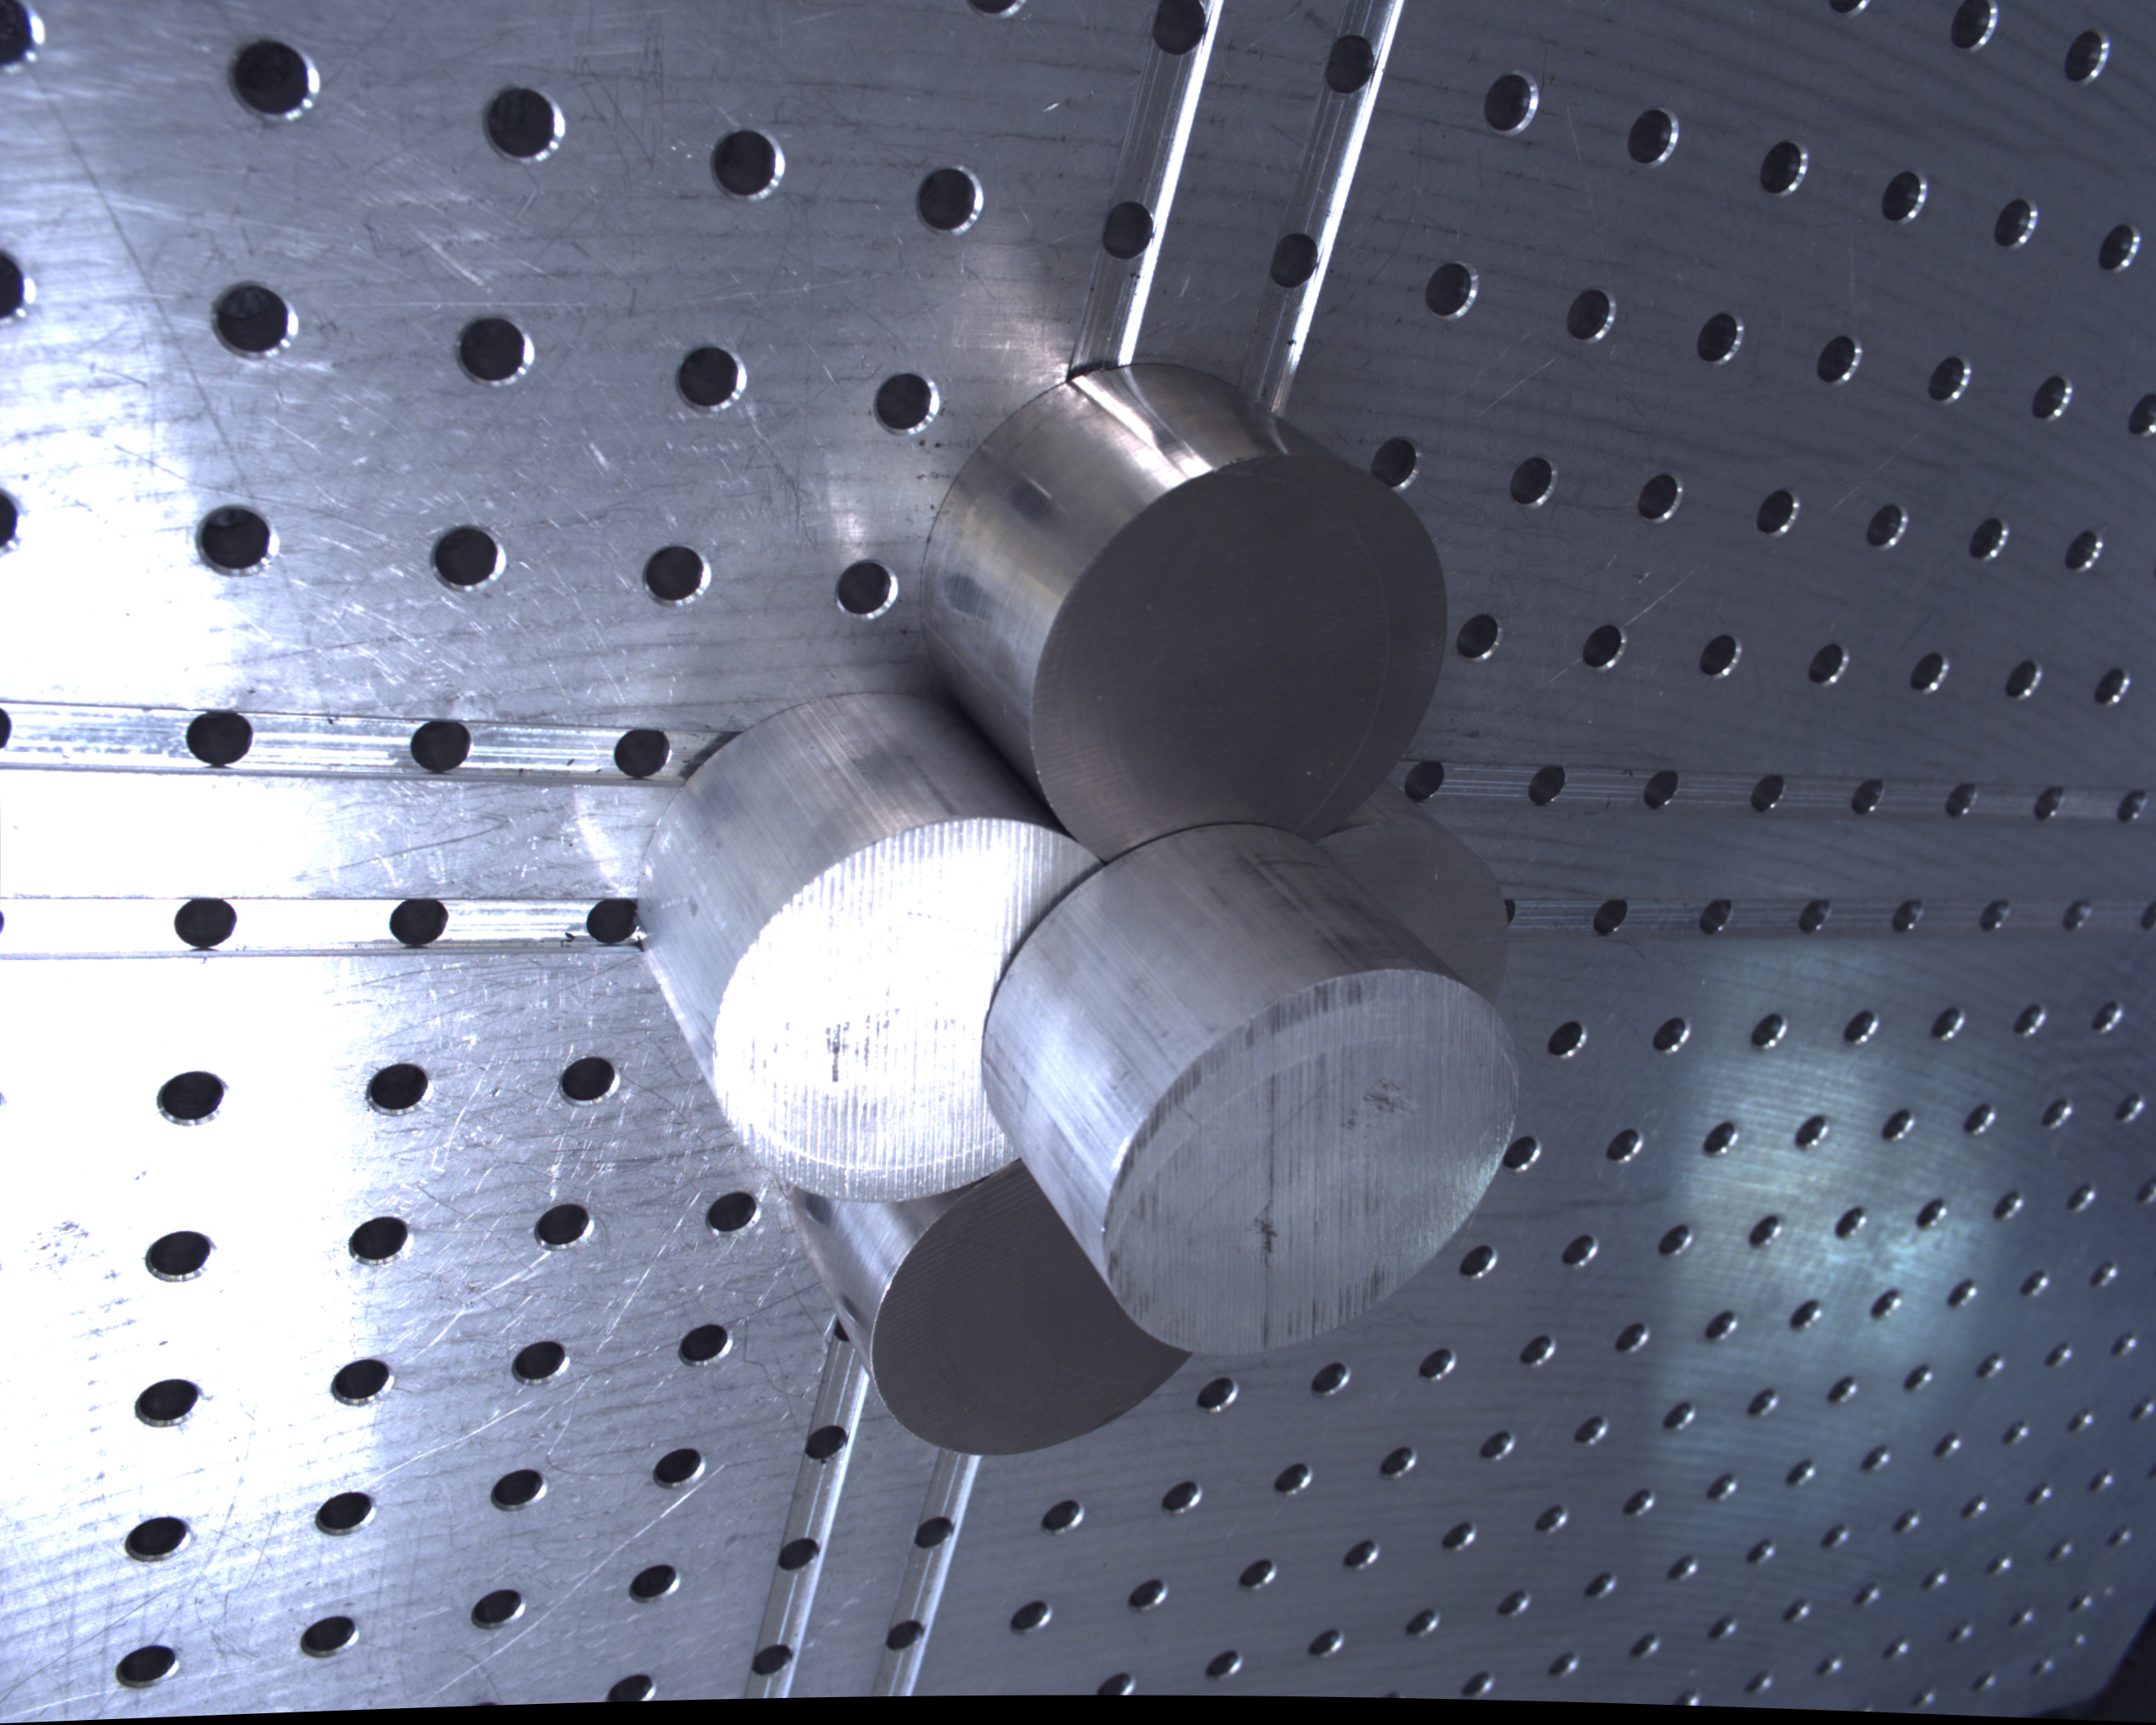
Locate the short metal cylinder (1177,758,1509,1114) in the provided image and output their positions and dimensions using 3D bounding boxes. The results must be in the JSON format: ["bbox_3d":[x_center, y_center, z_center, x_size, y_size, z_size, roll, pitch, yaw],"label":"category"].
[{"bbox_3d":[0.040,0.016,0.426,0.081,0.050,0.079,-14,124,-21],"label":"short metal cylinder"}]

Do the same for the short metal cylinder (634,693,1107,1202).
[{"bbox_3d":[-0.036,0.015,0.385,0.081,0.050,0.079,-14,124,-21],"label":"short metal cylinder"}]

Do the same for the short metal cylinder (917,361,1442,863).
[{"bbox_3d":[0.018,-0.044,0.377,0.081,0.050,0.079,-14,125,-22],"label":"short metal cylinder"}]

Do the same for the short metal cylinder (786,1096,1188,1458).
[{"bbox_3d":[-0.014,0.075,0.433,0.081,0.050,0.079,-13,122,-22],"label":"short metal cylinder"}]

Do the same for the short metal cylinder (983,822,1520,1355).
[{"bbox_3d":[0.030,0.040,0.370,0.081,0.050,0.079,-14,124,-21],"label":"short metal cylinder"}]
